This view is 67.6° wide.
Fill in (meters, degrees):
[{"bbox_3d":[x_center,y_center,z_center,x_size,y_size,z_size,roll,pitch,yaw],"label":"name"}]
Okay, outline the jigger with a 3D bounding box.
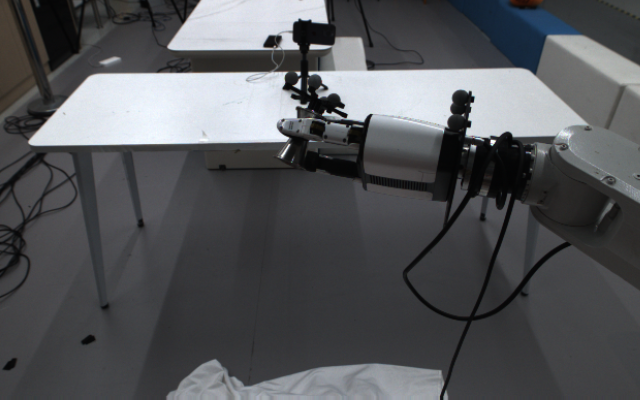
[{"bbox_3d":[-0.025,-0.077,0.593,0.043,0.071,0.043,24,-3,1],"label":"jigger"}]
